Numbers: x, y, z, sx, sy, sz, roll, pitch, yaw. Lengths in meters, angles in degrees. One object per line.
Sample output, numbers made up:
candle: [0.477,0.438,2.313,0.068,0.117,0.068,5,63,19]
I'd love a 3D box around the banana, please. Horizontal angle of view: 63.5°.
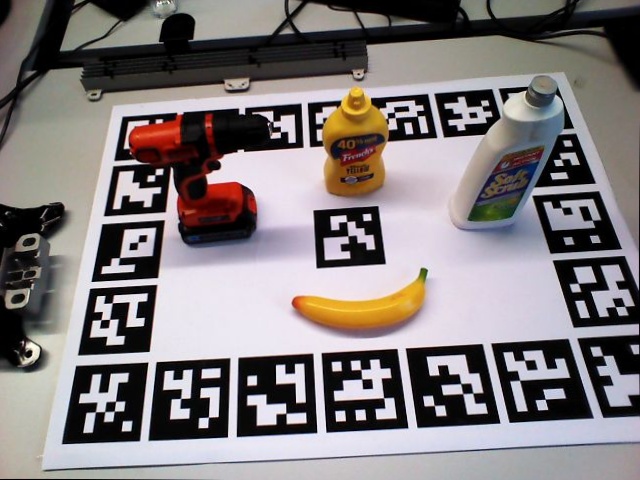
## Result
banana: [0.062,0.083,0.693,0.198,0.039,0.074,-9,63,2]

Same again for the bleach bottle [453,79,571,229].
bleach bottle: [0.248,-0.105,0.674,0.103,0.251,0.067,4,61,5]

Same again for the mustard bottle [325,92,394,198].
mustard bottle: [0.055,-0.135,0.739,0.096,0.192,0.058,-9,61,-4]

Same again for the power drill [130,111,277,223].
power drill: [-0.133,-0.100,0.695,0.185,0.187,0.057,-10,61,2]
